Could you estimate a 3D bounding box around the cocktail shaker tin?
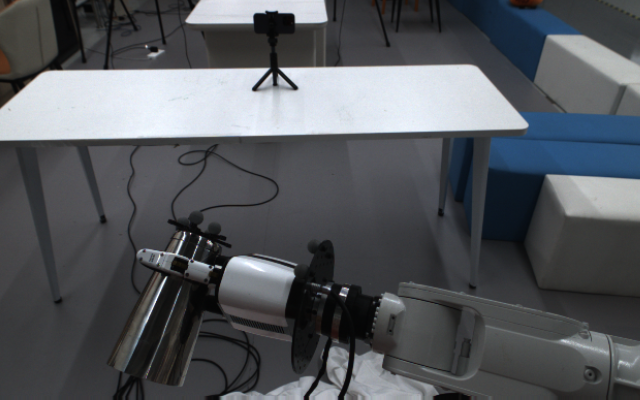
[{"bbox_3d":[-0.181,0.127,0.597,0.093,0.093,0.170,13,71,16],"label":"cocktail shaker tin"}]
